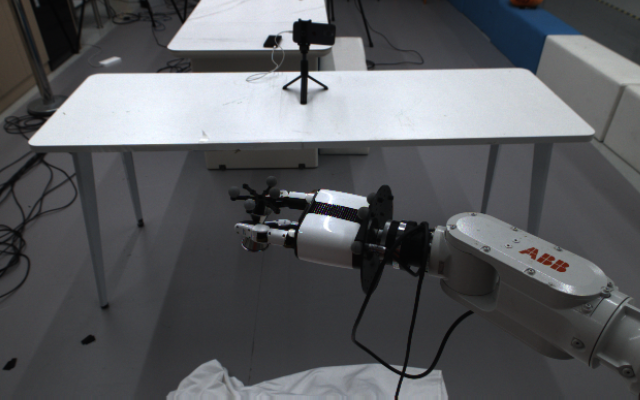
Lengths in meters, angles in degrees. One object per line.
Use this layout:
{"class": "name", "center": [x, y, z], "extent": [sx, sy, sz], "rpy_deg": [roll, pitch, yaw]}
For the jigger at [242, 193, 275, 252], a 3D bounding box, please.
{"class": "jigger", "center": [-0.097, 0.041, 0.748], "extent": [0.043, 0.071, 0.043], "rpy_deg": [9, 30, -5]}
